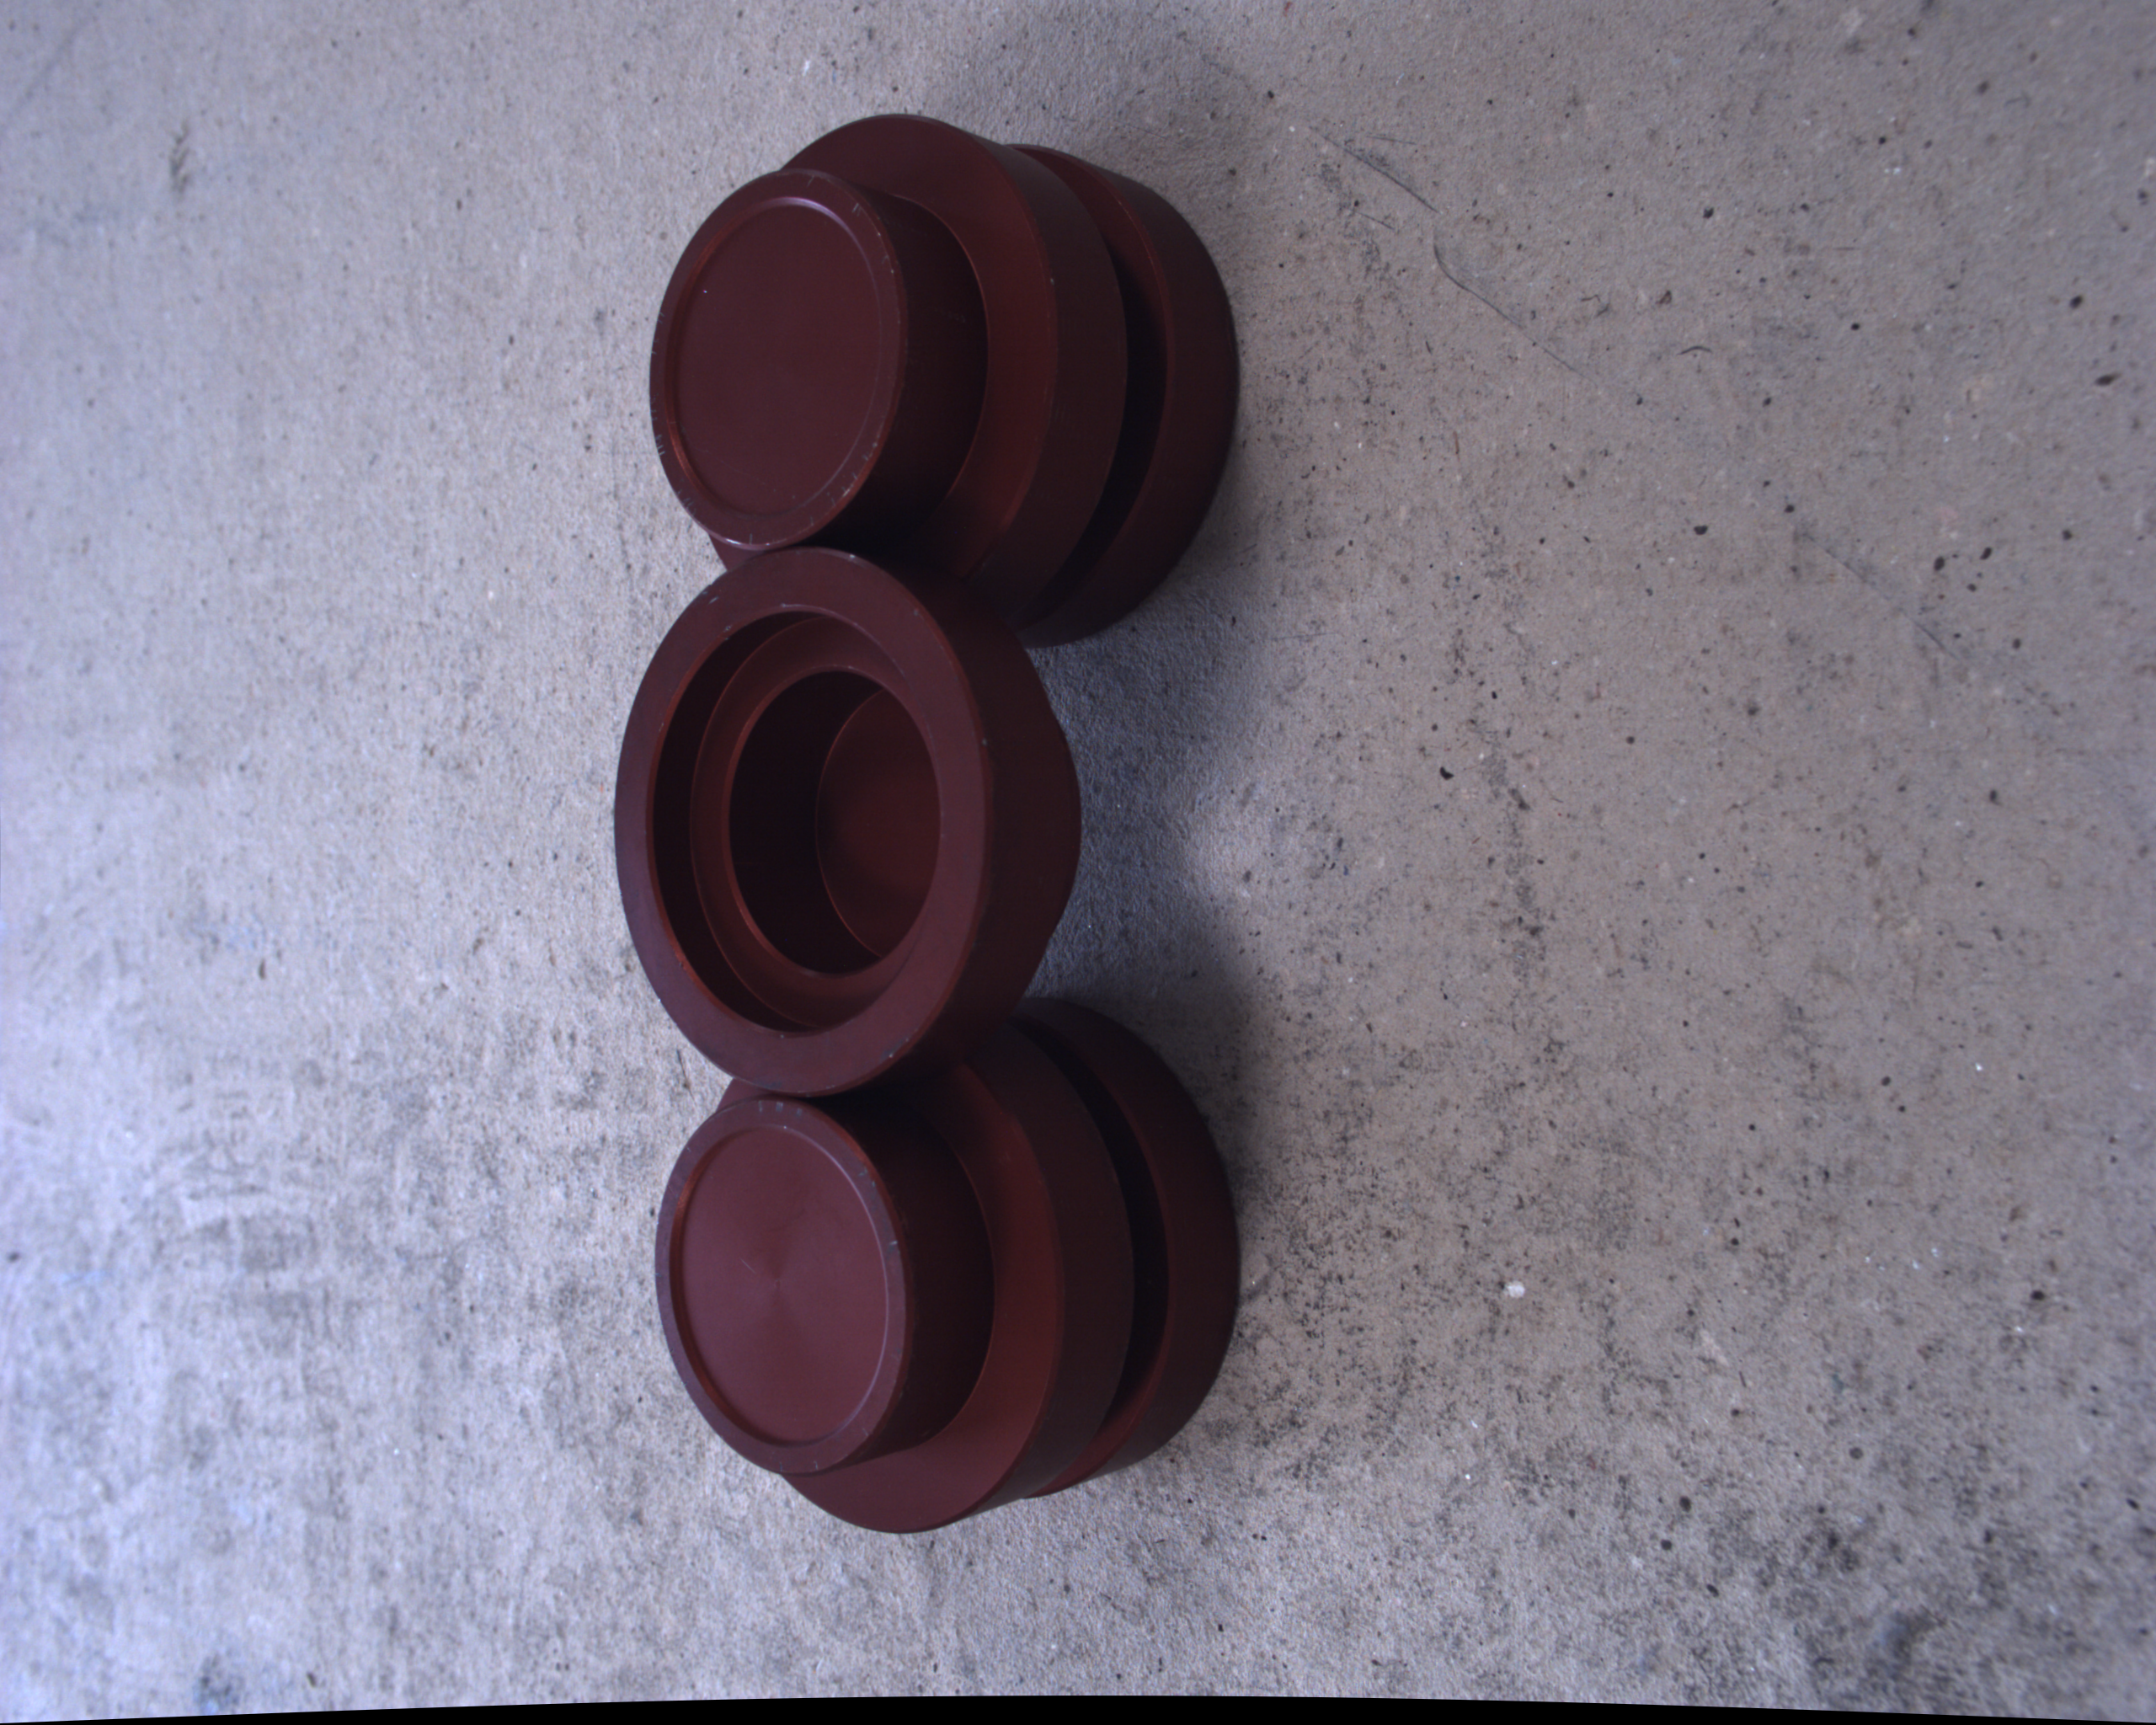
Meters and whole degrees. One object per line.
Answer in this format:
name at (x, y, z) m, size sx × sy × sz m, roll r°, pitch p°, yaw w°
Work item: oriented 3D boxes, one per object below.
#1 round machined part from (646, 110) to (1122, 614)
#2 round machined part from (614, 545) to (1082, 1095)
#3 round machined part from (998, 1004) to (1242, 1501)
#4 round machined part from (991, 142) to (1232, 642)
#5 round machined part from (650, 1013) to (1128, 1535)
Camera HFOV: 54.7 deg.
round machined part at (-0.043, -0.090, 0.388) m, size 0.098 × 0.042 × 0.097 m, roll 1°, pitch 91°, yaw 41°
round machined part at (-0.038, -0.008, 0.386) m, size 0.098 × 0.042 × 0.097 m, roll 0°, pitch 90°, yaw 40°
round machined part at (-0.019, 0.077, 0.413) m, size 0.098 × 0.042 × 0.097 m, roll -1°, pitch 88°, yaw 41°
round machined part at (-0.021, -0.093, 0.412) m, size 0.098 × 0.042 × 0.097 m, roll 1°, pitch 91°, yaw 41°
round machined part at (-0.042, 0.075, 0.386) m, size 0.098 × 0.042 × 0.097 m, roll 1°, pitch 91°, yaw 41°
